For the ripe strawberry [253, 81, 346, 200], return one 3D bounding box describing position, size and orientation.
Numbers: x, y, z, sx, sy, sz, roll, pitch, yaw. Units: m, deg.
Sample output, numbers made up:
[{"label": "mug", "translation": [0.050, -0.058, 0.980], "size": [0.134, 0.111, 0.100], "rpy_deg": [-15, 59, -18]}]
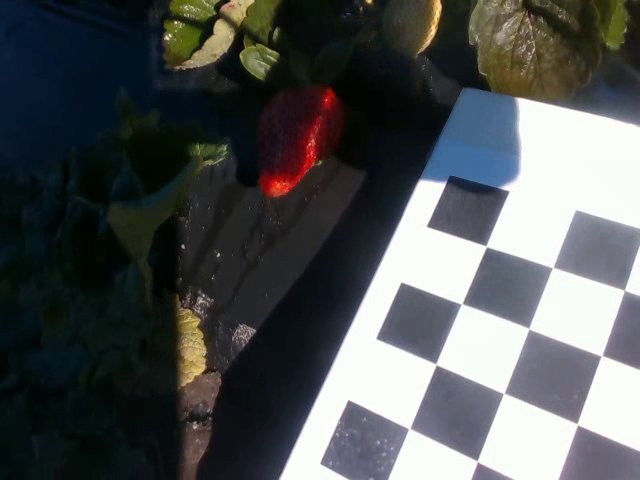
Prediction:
[{"label": "ripe strawberry", "translation": [-0.012, -0.044, 0.275], "size": [0.048, 0.069, 0.040], "rpy_deg": [1, -29, 19]}]
